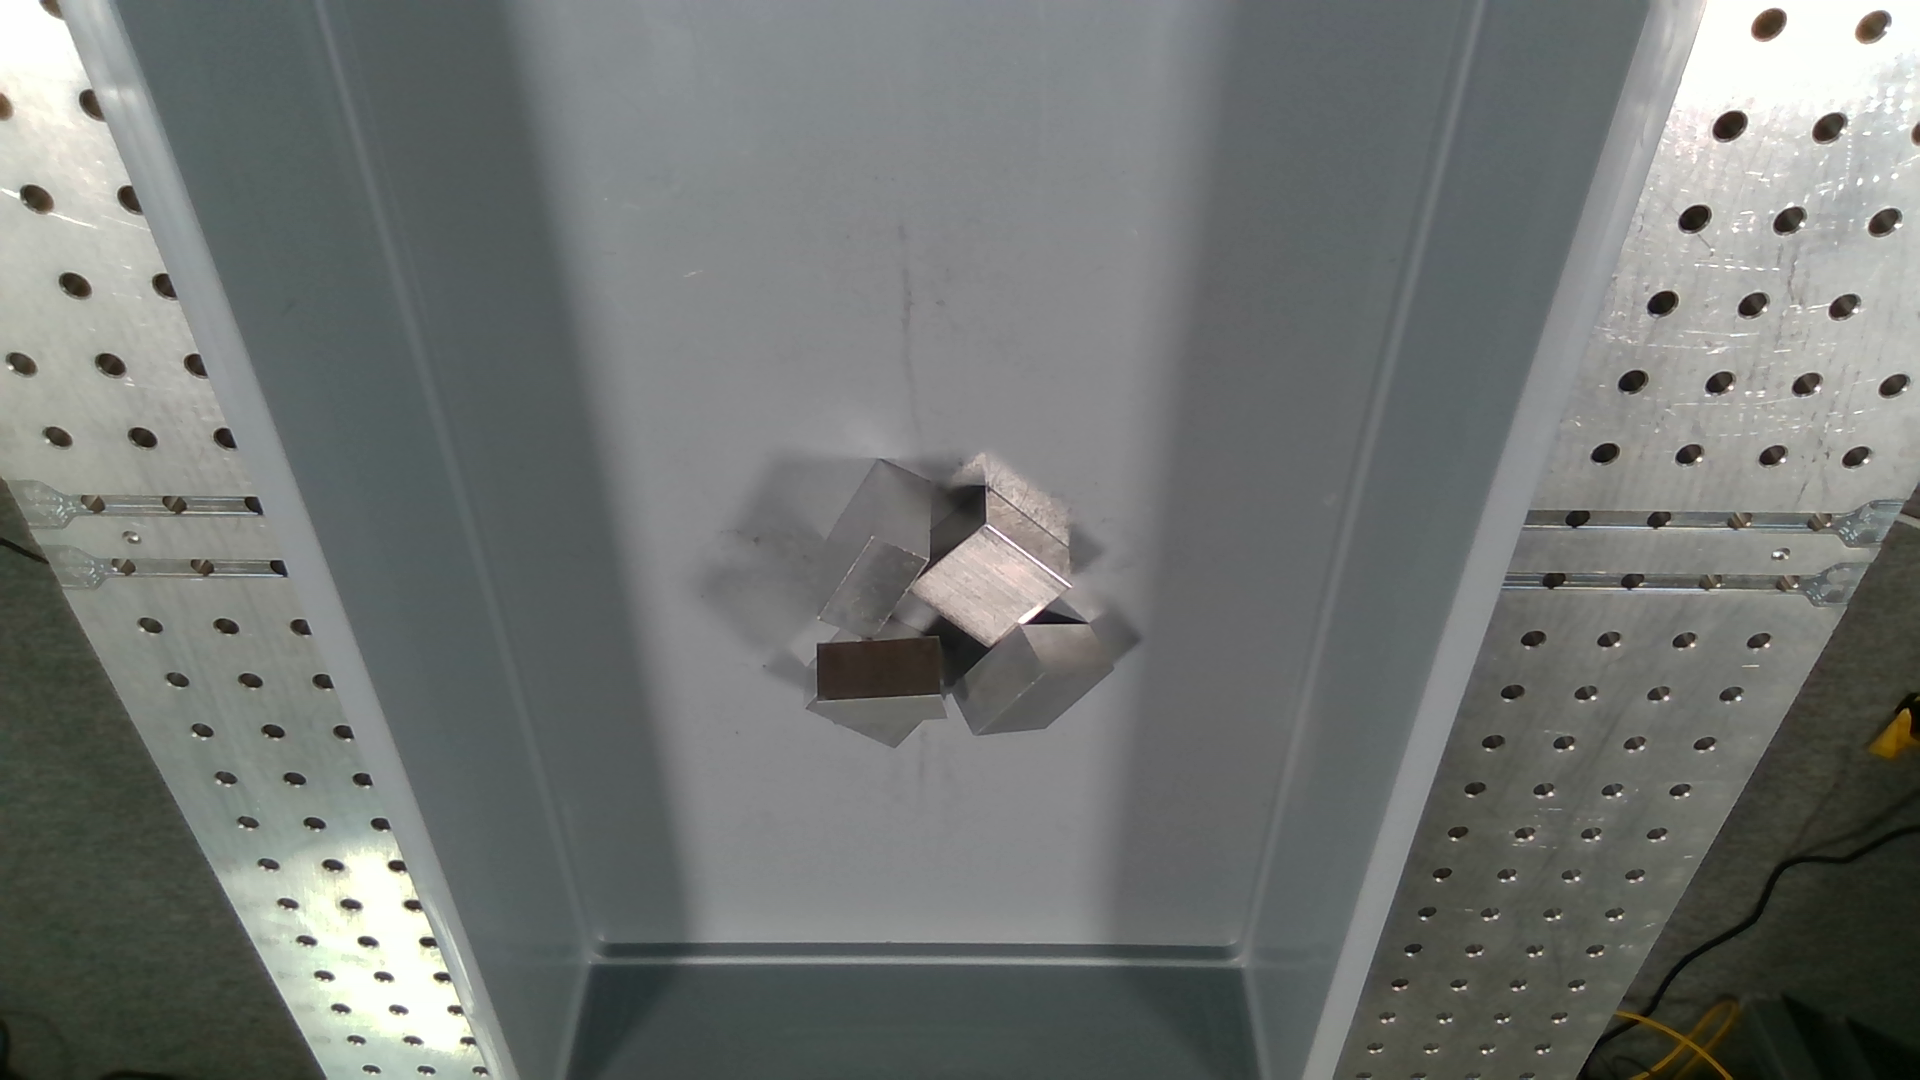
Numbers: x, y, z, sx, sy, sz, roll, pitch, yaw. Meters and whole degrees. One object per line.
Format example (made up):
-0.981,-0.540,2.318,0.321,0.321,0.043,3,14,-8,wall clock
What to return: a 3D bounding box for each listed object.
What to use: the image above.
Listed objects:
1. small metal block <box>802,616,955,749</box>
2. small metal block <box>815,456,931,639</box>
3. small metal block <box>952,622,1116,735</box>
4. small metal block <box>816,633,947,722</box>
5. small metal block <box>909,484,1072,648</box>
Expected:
-0.037,0.063,0.630,0.050,0.025,0.050,28,125,-22,small metal block
-0.035,0.003,0.563,0.025,0.050,0.050,23,126,-18,small metal block
0.032,0.061,0.615,0.050,0.025,0.050,3,140,-48,small metal block
-0.032,0.059,0.580,0.050,0.025,0.050,-3,162,2,small metal block
0.011,0.012,0.586,0.050,0.025,0.050,36,121,-26,small metal block
